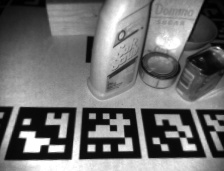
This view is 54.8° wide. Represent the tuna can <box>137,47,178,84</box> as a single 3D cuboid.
[{"bbox_3d":[0.099,-0.045,0.479,0.086,0.034,0.085,3,54,-3],"label":"tuna can"}]

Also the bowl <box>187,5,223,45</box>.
[{"bbox_3d":[0.203,-0.156,0.571,0.162,0.055,0.161,1,50,-1],"label":"bowl"}]

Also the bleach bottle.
[{"bbox_3d":[0.005,-0.098,0.375,0.103,0.252,0.067,-19,54,-19],"label":"bleach bottle"}]

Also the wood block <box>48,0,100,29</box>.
[{"bbox_3d":[-0.054,-0.213,0.569,0.207,0.090,0.090,-4,56,-11],"label":"wood block"}]

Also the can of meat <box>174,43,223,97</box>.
[{"bbox_3d":[0.185,-0.032,0.455,0.103,0.084,0.057,-21,53,-23],"label":"can of meat"}]

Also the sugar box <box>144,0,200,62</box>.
[{"bbox_3d":[0.126,-0.136,0.464,0.092,0.177,0.045,17,53,13],"label":"sugar box"}]
